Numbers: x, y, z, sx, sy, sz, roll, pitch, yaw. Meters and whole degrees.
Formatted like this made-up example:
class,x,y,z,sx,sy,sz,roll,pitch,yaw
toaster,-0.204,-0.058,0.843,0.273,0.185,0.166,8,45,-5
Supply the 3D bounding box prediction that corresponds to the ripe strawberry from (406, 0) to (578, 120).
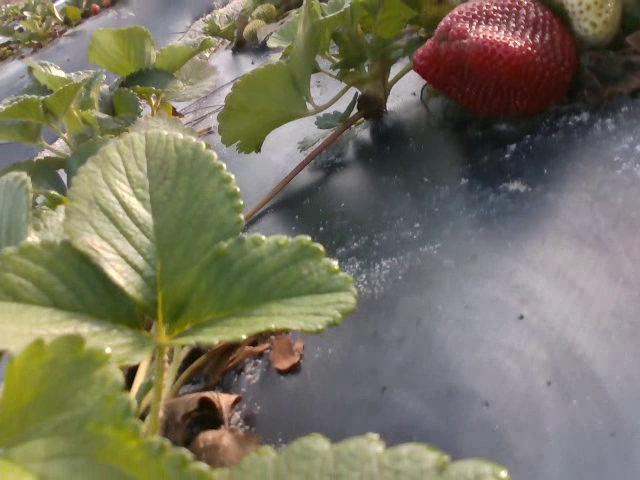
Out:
class,x,y,z,sx,sy,sz,roll,pitch,yaw
ripe strawberry,0.067,-0.071,0.249,0.070,0.058,0.057,-1,-44,-35
